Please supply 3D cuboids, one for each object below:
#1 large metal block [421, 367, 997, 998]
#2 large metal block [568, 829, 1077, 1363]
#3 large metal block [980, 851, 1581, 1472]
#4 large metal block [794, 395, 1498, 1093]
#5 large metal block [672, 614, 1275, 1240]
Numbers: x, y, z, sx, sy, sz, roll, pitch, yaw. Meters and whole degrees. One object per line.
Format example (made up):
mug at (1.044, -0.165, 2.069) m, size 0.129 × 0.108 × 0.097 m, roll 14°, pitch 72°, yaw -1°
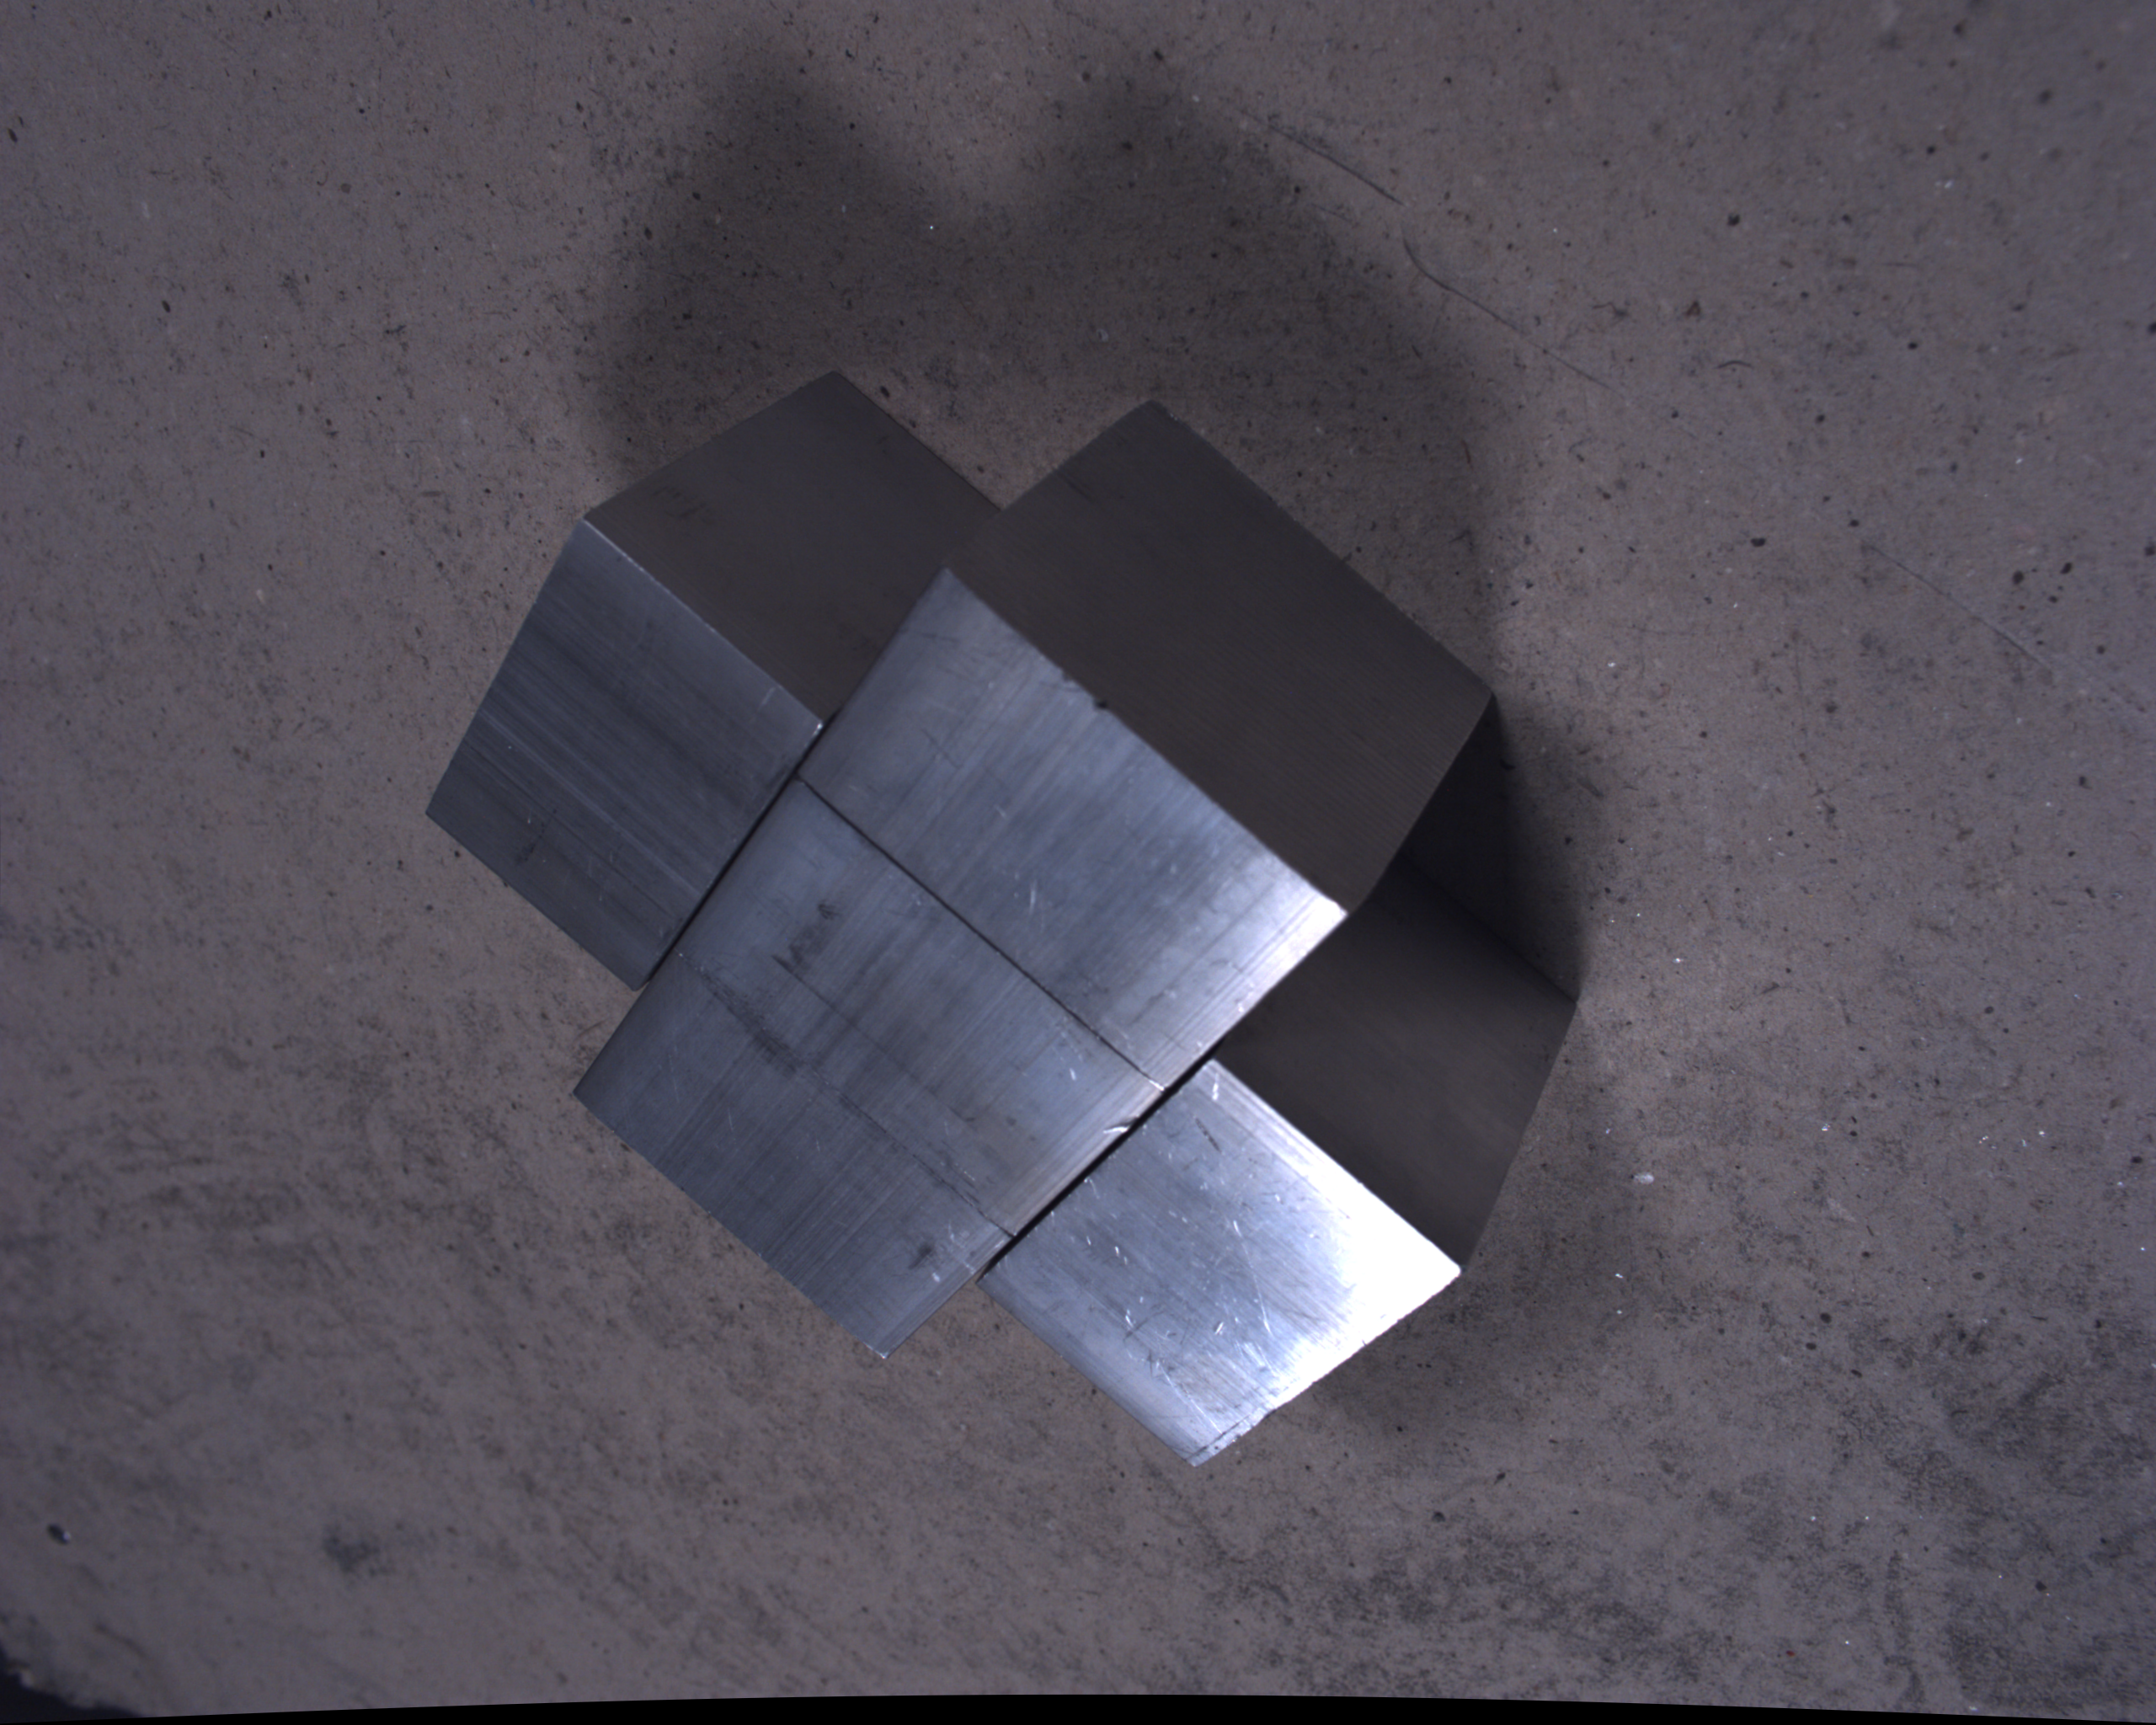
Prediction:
large metal block at (-0.063, -0.034, 0.384) m, size 0.050 × 0.080 × 0.080 m, roll 41°, pitch 129°, yaw 0°
large metal block at (-0.038, 0.036, 0.414) m, size 0.080 × 0.080 × 0.050 m, roll 41°, pitch 129°, yaw 0°
large metal block at (0.038, 0.052, 0.384) m, size 0.050 × 0.080 × 0.080 m, roll 41°, pitch 129°, yaw 0°
large metal block at (0.014, -0.023, 0.351) m, size 0.080 × 0.080 × 0.050 m, roll 41°, pitch 129°, yaw 0°
large metal block at (-0.012, 0.007, 0.382) m, size 0.080 × 0.080 × 0.050 m, roll 41°, pitch 129°, yaw 0°
